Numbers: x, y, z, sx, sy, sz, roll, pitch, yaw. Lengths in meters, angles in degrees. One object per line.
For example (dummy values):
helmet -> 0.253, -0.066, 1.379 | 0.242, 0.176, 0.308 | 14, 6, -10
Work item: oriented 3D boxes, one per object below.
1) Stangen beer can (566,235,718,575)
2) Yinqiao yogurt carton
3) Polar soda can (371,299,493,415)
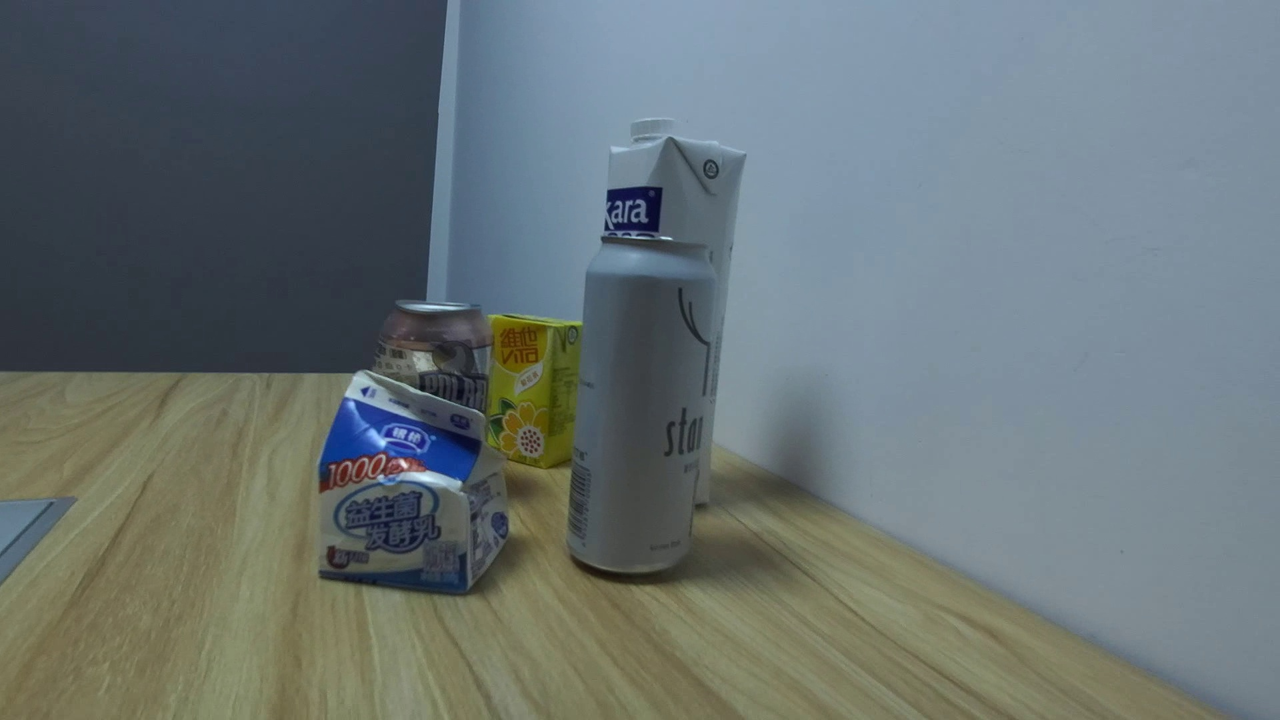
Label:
Stangen beer can -> 0.001, 0.023, 0.368 | 0.067, 0.171, 0.067 | 6, 7, 0
Yinqiao yogurt carton -> -0.111, 0.054, 0.351 | 0.083, 0.093, 0.077 | 6, 7, 3
Polar soda can -> -0.130, 0.026, 0.459 | 0.074, 0.121, 0.067 | 9, 10, 41
